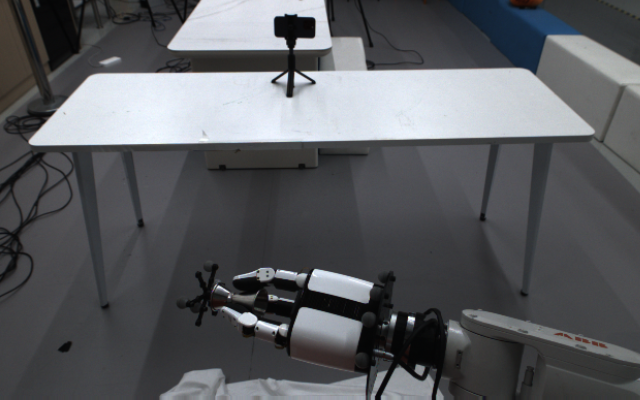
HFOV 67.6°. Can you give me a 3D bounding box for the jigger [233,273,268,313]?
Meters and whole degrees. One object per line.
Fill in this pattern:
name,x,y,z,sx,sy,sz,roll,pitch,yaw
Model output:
jigger,-0.103,0.131,0.664,0.071,0.043,0.043,5,34,20
